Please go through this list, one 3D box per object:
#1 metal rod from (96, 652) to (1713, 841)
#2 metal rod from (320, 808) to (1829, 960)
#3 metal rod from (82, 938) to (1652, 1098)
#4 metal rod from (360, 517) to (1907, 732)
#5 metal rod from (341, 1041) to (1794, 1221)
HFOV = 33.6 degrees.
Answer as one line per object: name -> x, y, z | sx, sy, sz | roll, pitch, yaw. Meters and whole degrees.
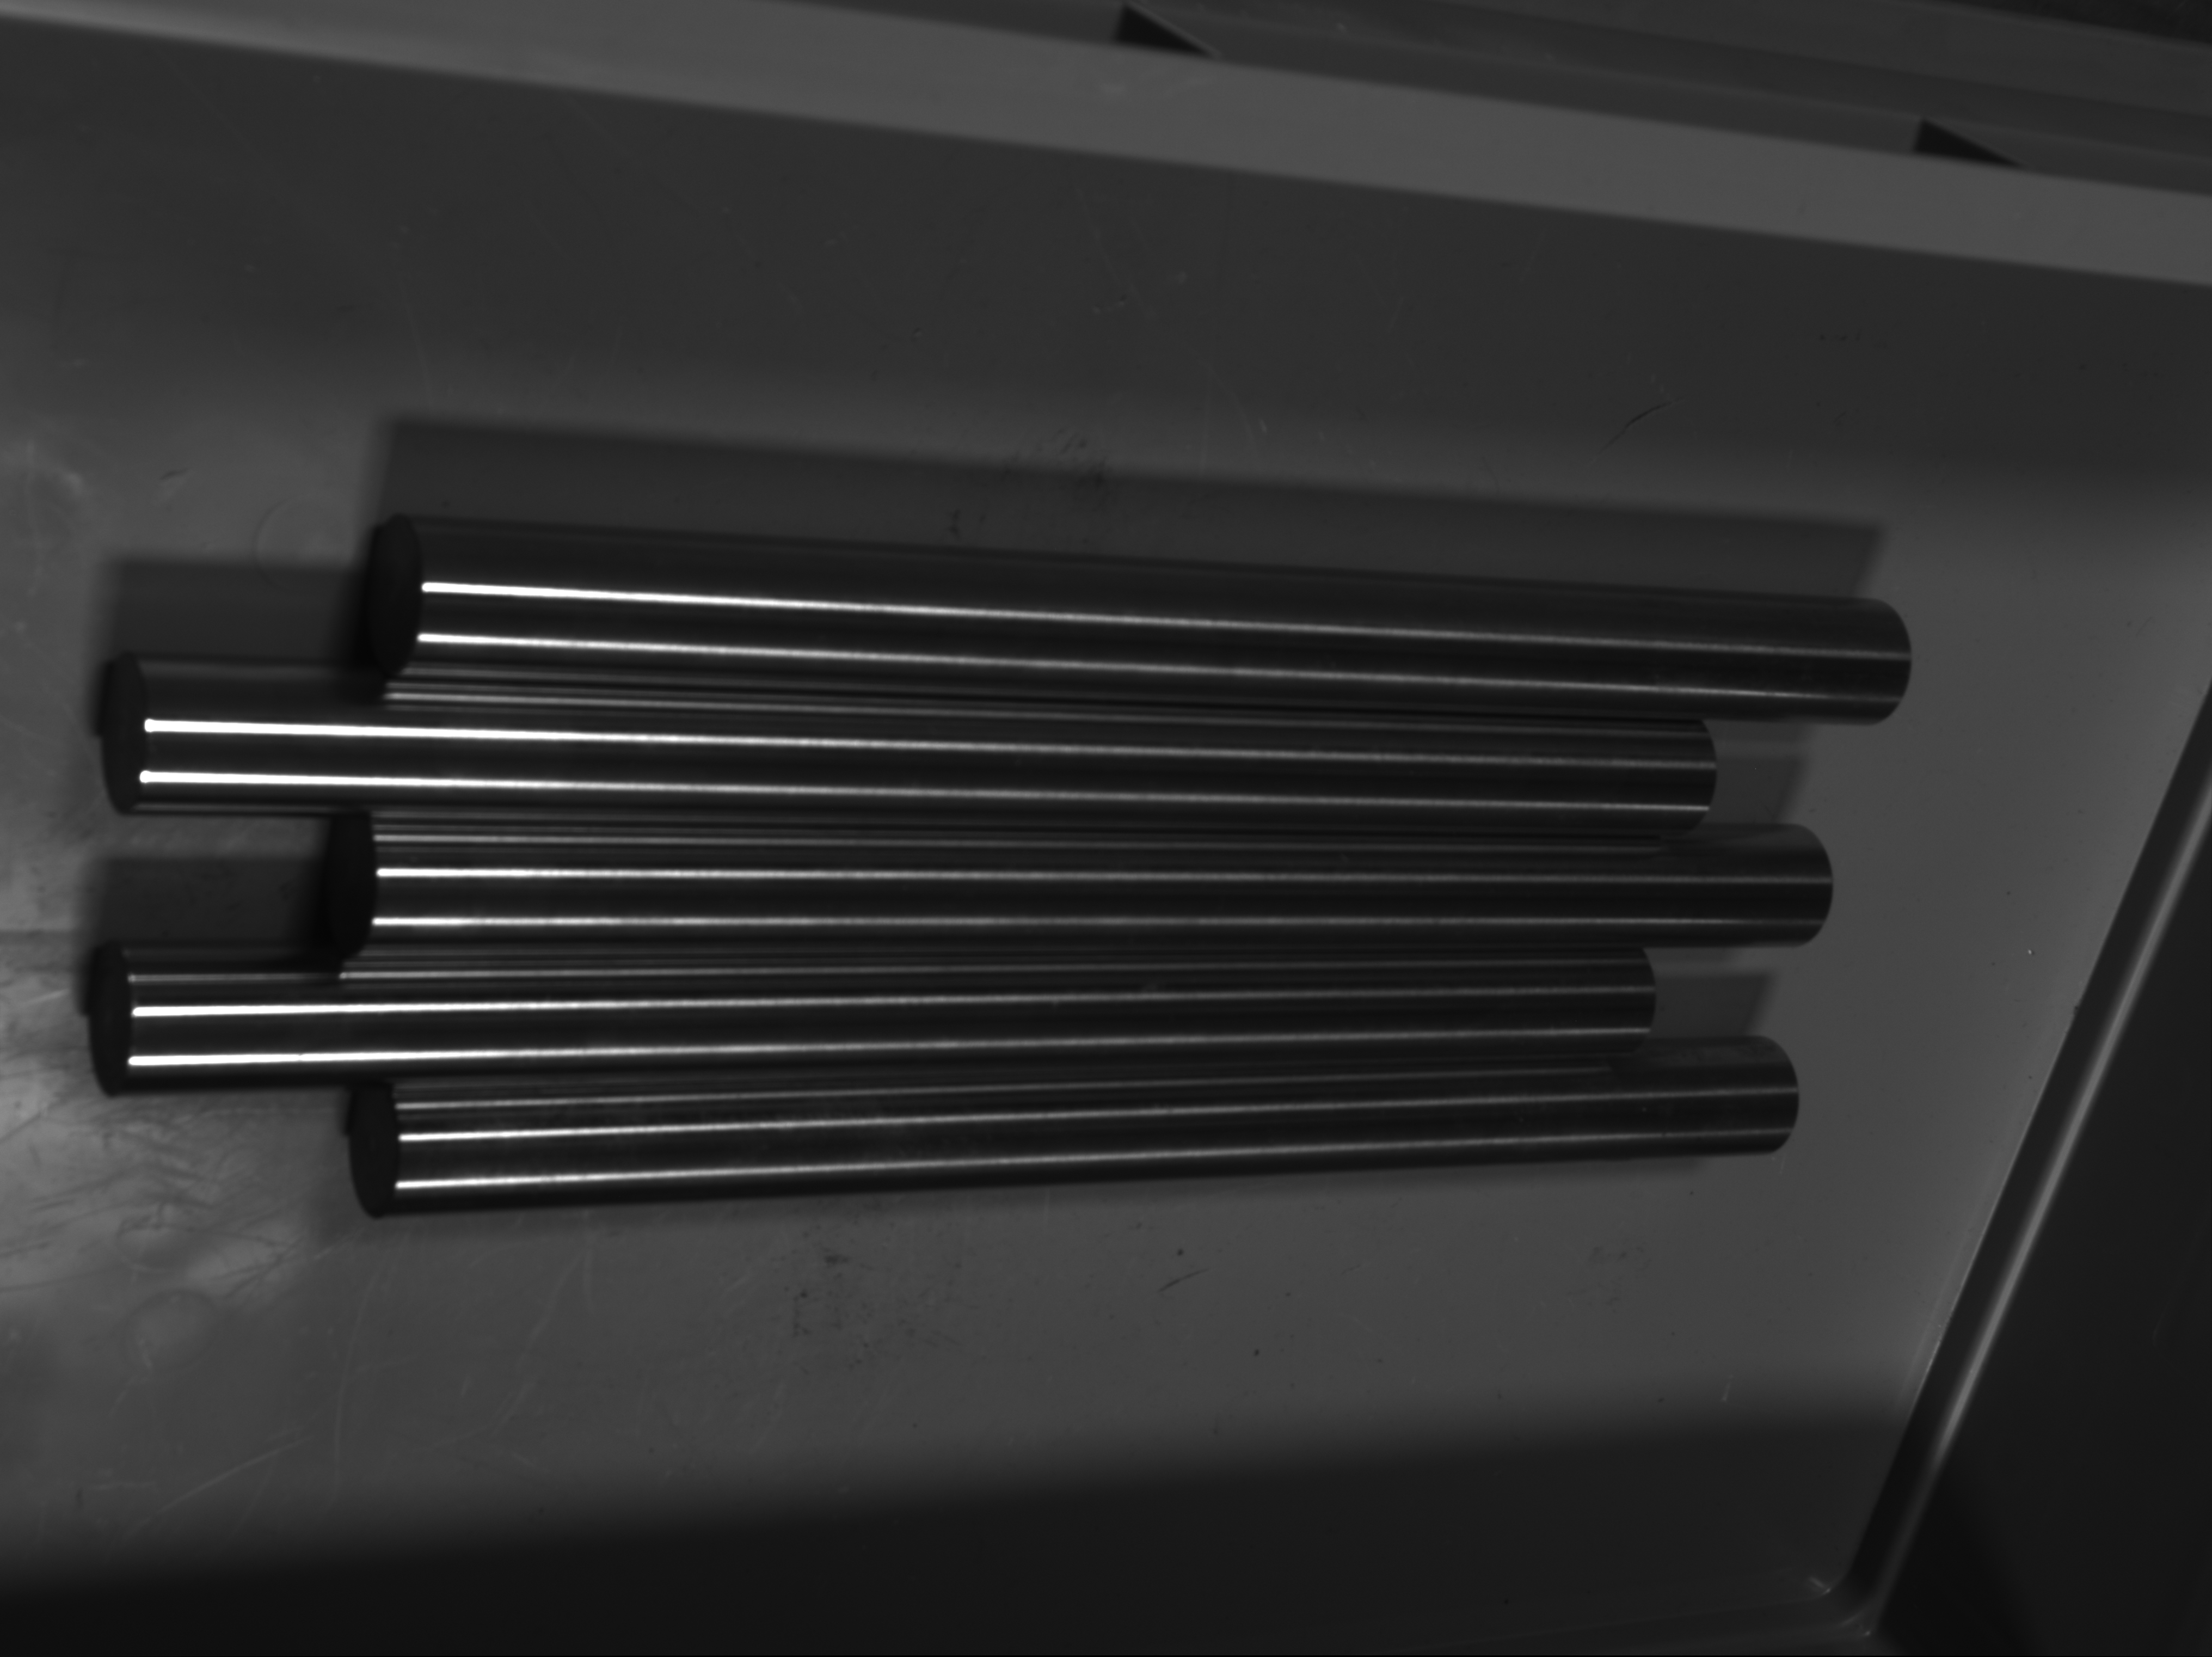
metal rod -> -0.020, -0.012, 0.630 | 0.301, 0.025, 0.025 | 1, 118, -31
metal rod -> 0.008, 0.010, 0.661 | 0.301, 0.025, 0.025 | 1, 118, -31
metal rod -> -0.029, 0.032, 0.653 | 0.301, 0.025, 0.025 | 1, 118, -31
metal rod -> 0.019, -0.033, 0.640 | 0.301, 0.025, 0.025 | 1, 118, -31
metal rod -> 0.006, 0.055, 0.687 | 0.301, 0.025, 0.025 | 1, 118, -31
